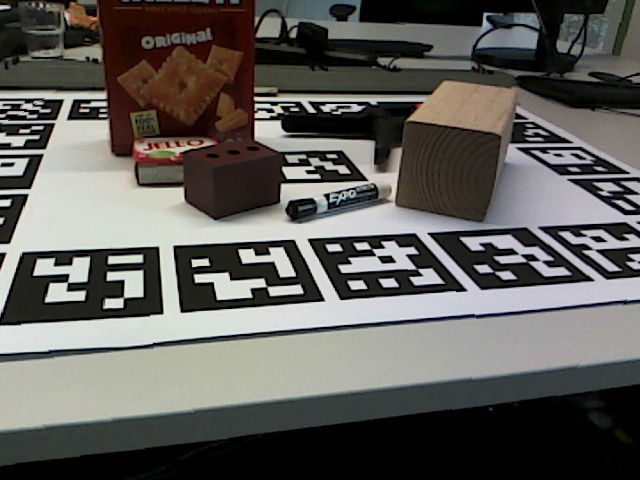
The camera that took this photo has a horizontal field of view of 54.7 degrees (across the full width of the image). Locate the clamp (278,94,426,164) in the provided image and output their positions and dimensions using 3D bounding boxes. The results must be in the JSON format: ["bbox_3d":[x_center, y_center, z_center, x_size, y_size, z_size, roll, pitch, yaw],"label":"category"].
[{"bbox_3d":[0.073,-0.156,0.798,0.166,0.036,0.202,30,39,35],"label":"clamp"}]

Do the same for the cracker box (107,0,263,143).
[{"bbox_3d":[-0.150,-0.219,0.689,0.163,0.213,0.072,-4,30,-19],"label":"cracker box"}]

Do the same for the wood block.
[{"bbox_3d":[0.150,-0.102,0.671,0.090,0.091,0.206,12,28,17],"label":"wood block"}]

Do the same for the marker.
[{"bbox_3d":[0.008,-0.033,0.591,0.120,0.019,0.020,-16,38,-31],"label":"marker"}]

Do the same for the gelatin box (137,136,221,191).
[{"bbox_3d":[-0.146,-0.083,0.651,0.089,0.030,0.074,-4,33,-16],"label":"gelatin box"}]

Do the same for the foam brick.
[{"bbox_3d":[-0.085,-0.055,0.587,0.077,0.051,0.053,-20,40,-35],"label":"foam brick"}]
